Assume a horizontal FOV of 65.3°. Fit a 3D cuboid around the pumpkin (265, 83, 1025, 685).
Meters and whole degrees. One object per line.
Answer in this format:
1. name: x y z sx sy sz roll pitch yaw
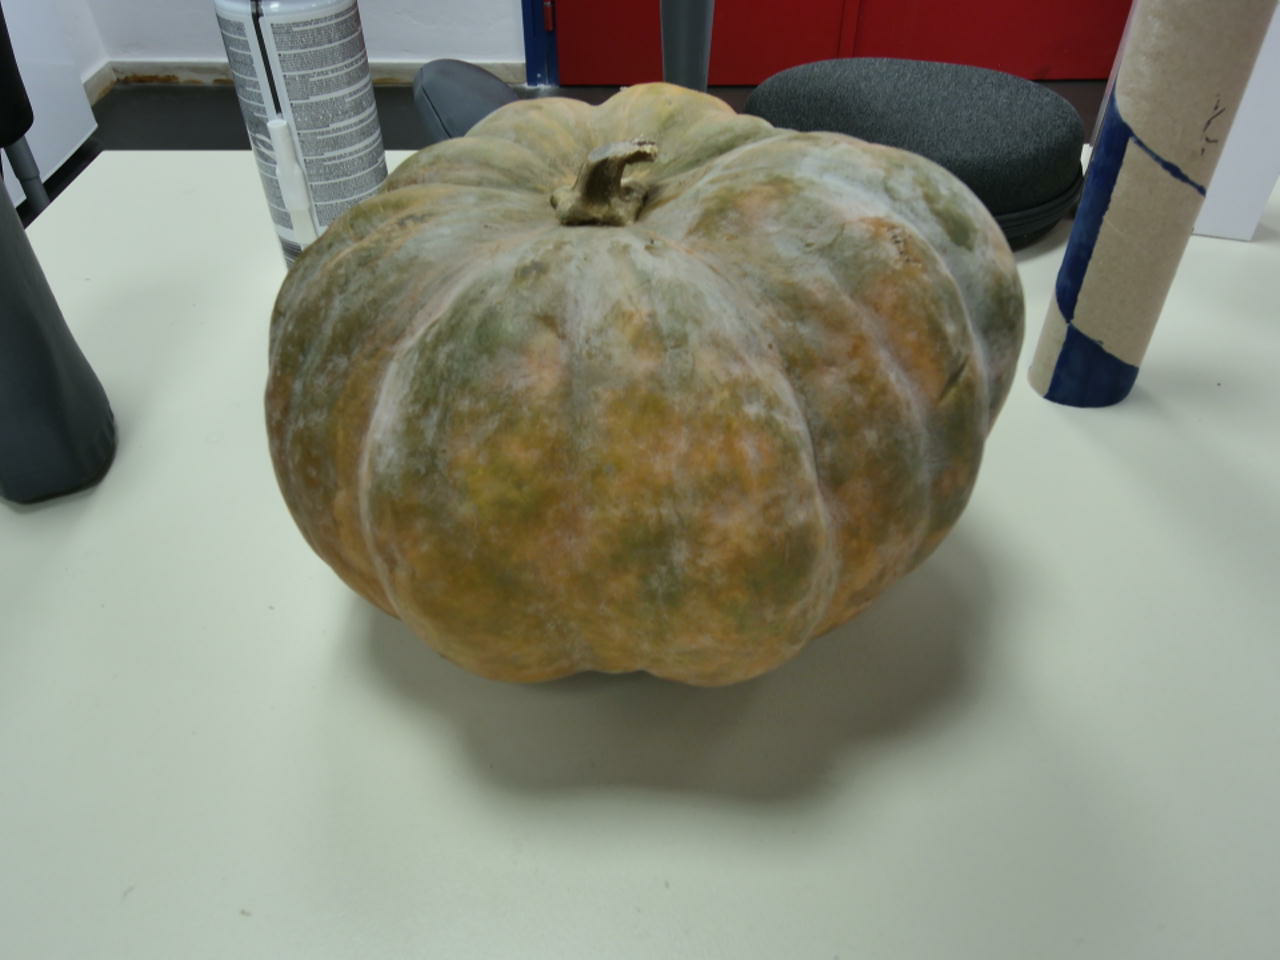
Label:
1. pumpkin: -0.006 -0.039 0.354 0.252 0.169 0.251 0 39 0
